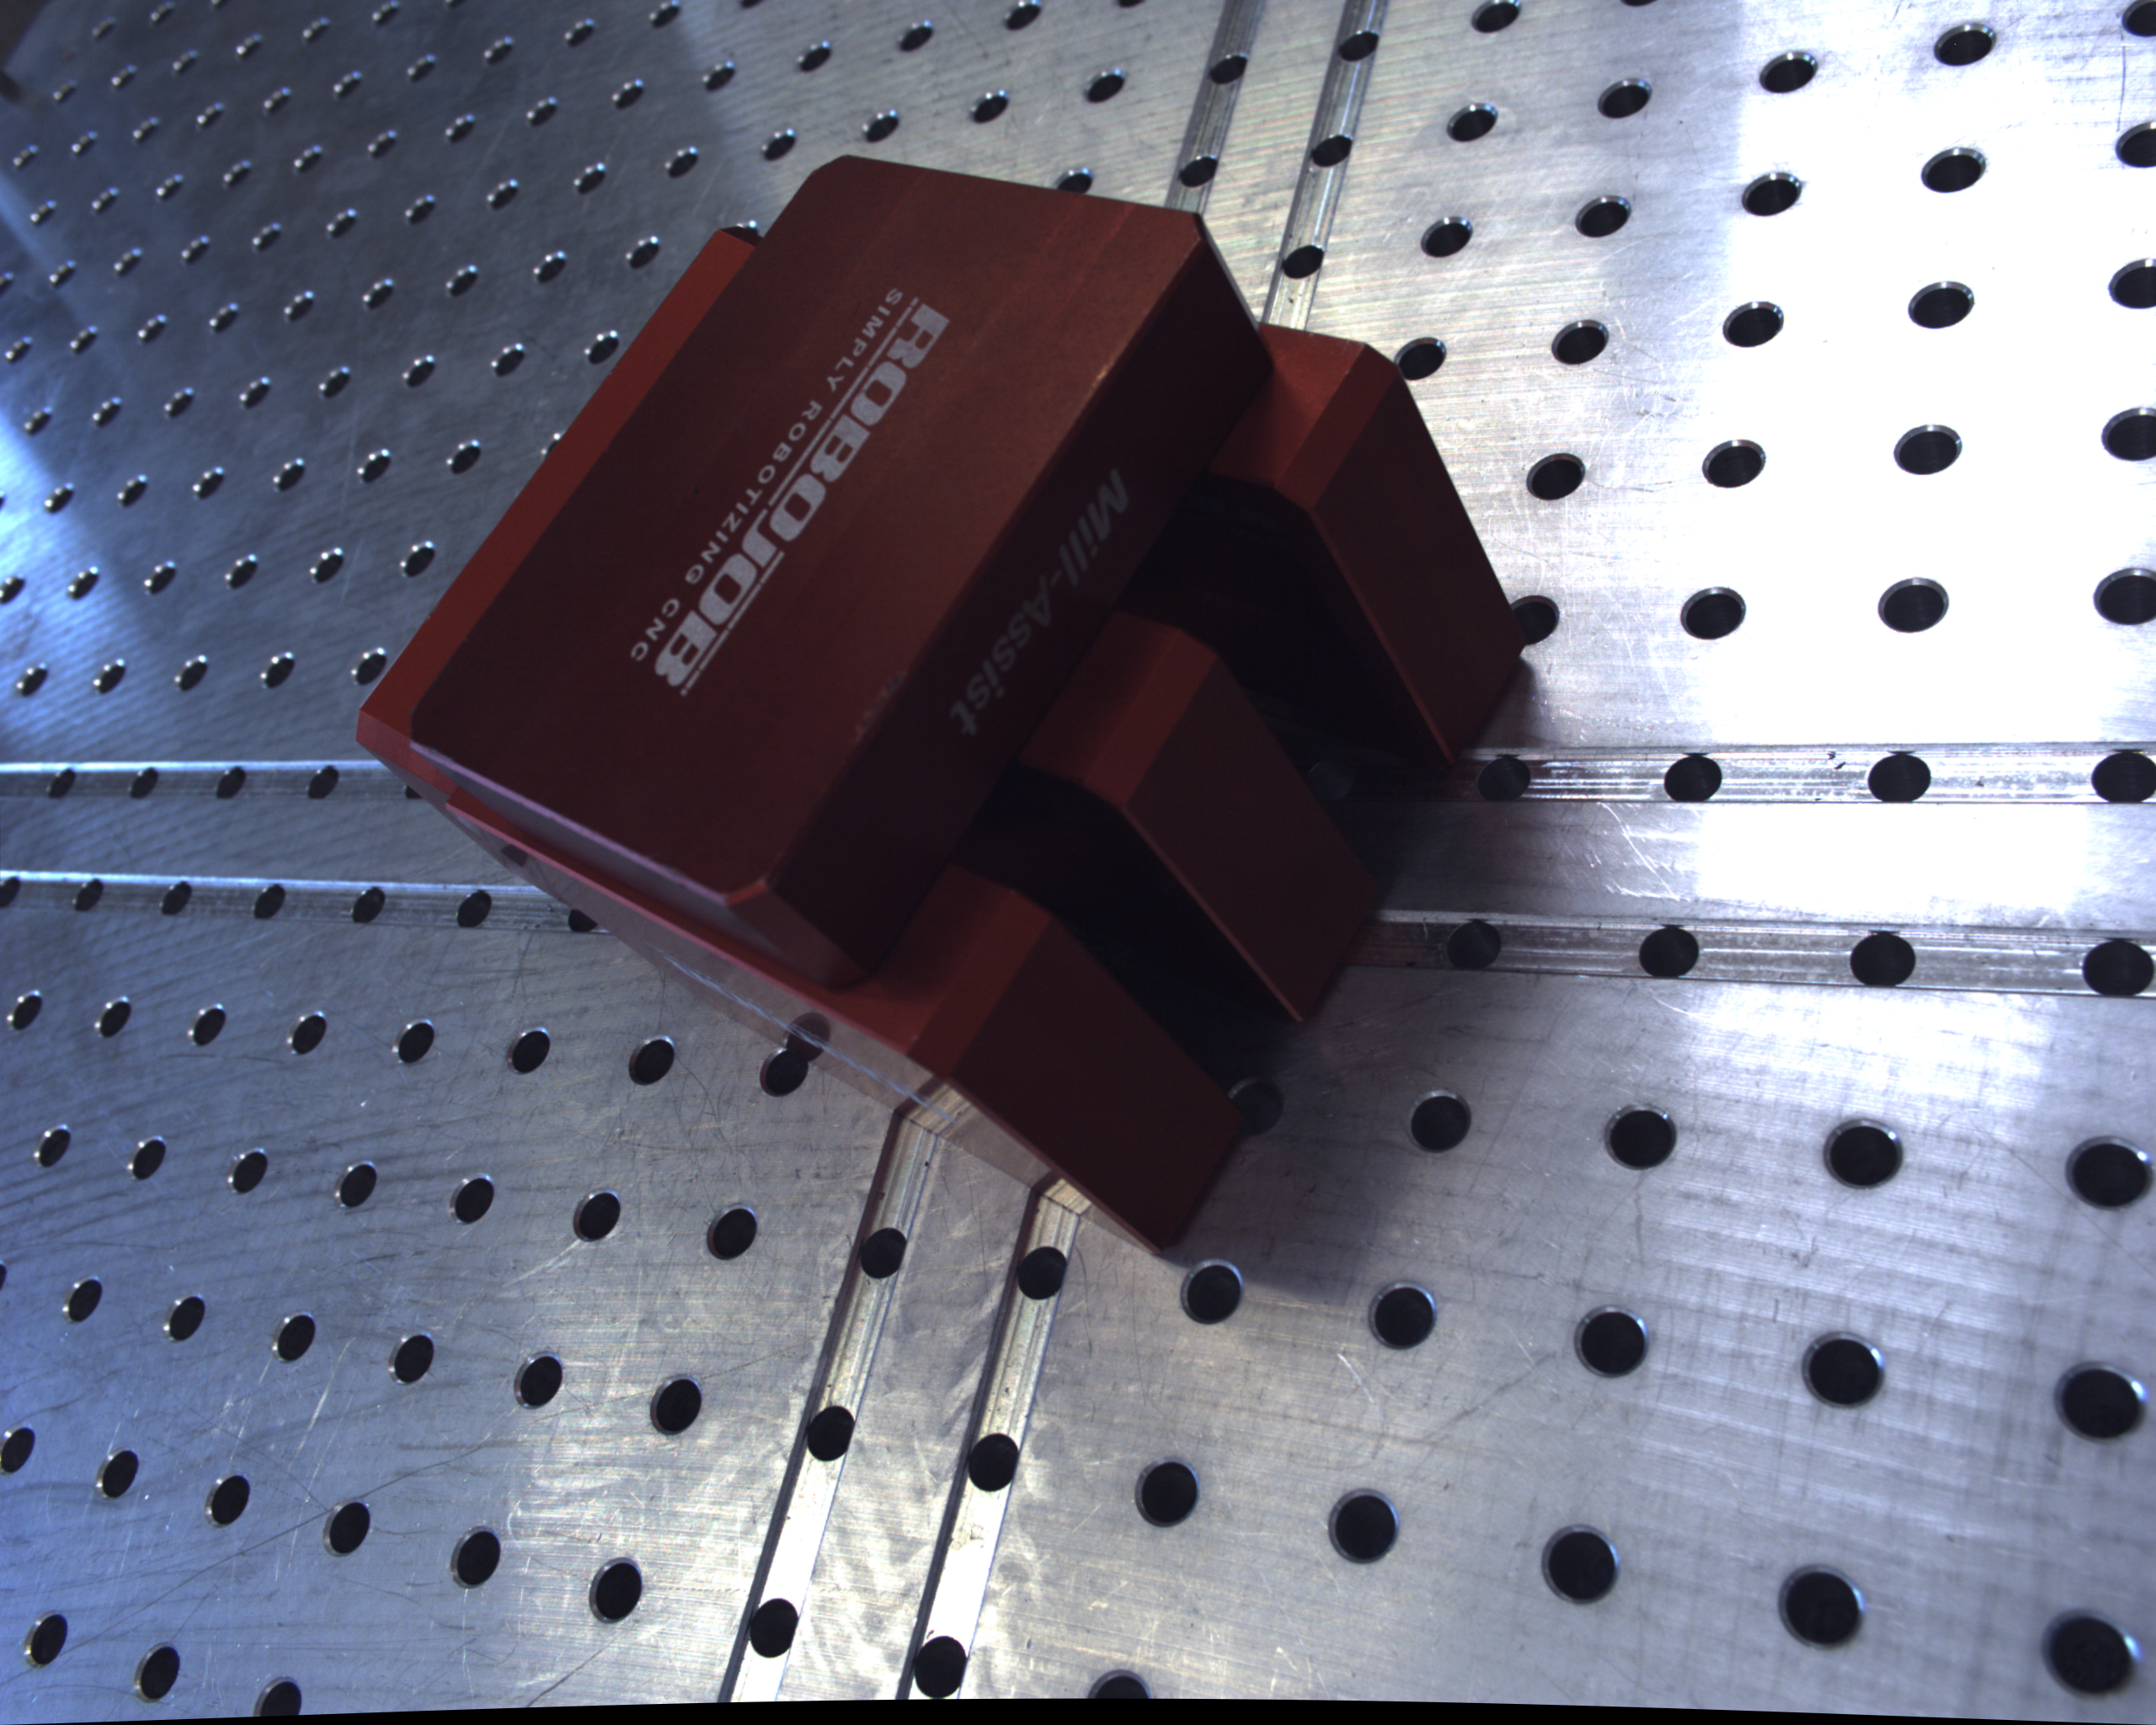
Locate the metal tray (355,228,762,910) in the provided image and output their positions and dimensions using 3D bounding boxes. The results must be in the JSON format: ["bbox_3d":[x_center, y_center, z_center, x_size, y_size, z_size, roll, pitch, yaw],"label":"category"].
[{"bbox_3d":[-0.087,-0.057,0.445,0.030,0.090,0.130,29,76,15],"label":"metal tray"}]

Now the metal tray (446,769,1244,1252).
[{"bbox_3d":[-0.043,0.017,0.379,0.130,0.090,0.030,23,75,36],"label":"metal tray"}]

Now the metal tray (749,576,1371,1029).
[{"bbox_3d":[-0.018,-0.021,0.389,0.130,0.090,0.030,22,73,35],"label":"metal tray"}]

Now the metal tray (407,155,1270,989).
[{"bbox_3d":[-0.040,-0.053,0.343,0.090,0.030,0.130,23,74,36],"label":"metal tray"}]

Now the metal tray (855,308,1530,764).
[{"bbox_3d":[0.013,-0.070,0.402,0.130,0.090,0.030,23,75,36],"label":"metal tray"}]
